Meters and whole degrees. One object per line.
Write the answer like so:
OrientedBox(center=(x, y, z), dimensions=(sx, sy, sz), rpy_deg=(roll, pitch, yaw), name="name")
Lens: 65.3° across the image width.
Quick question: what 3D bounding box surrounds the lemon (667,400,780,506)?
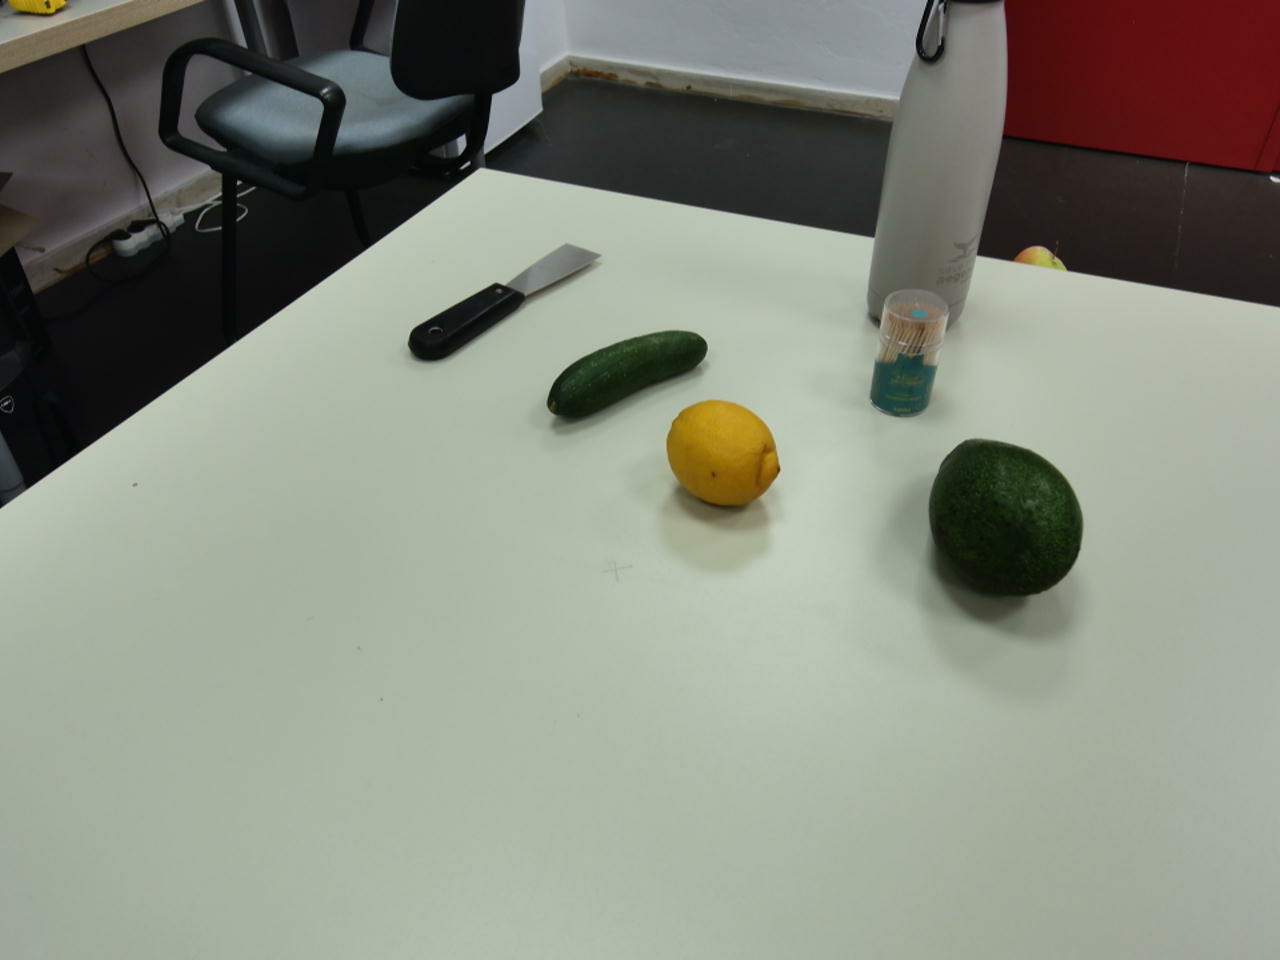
OrientedBox(center=(0.048, -0.015, 0.587), dimensions=(0.061, 0.059, 0.067), rpy_deg=(-15, 41, -18), name="lemon")
